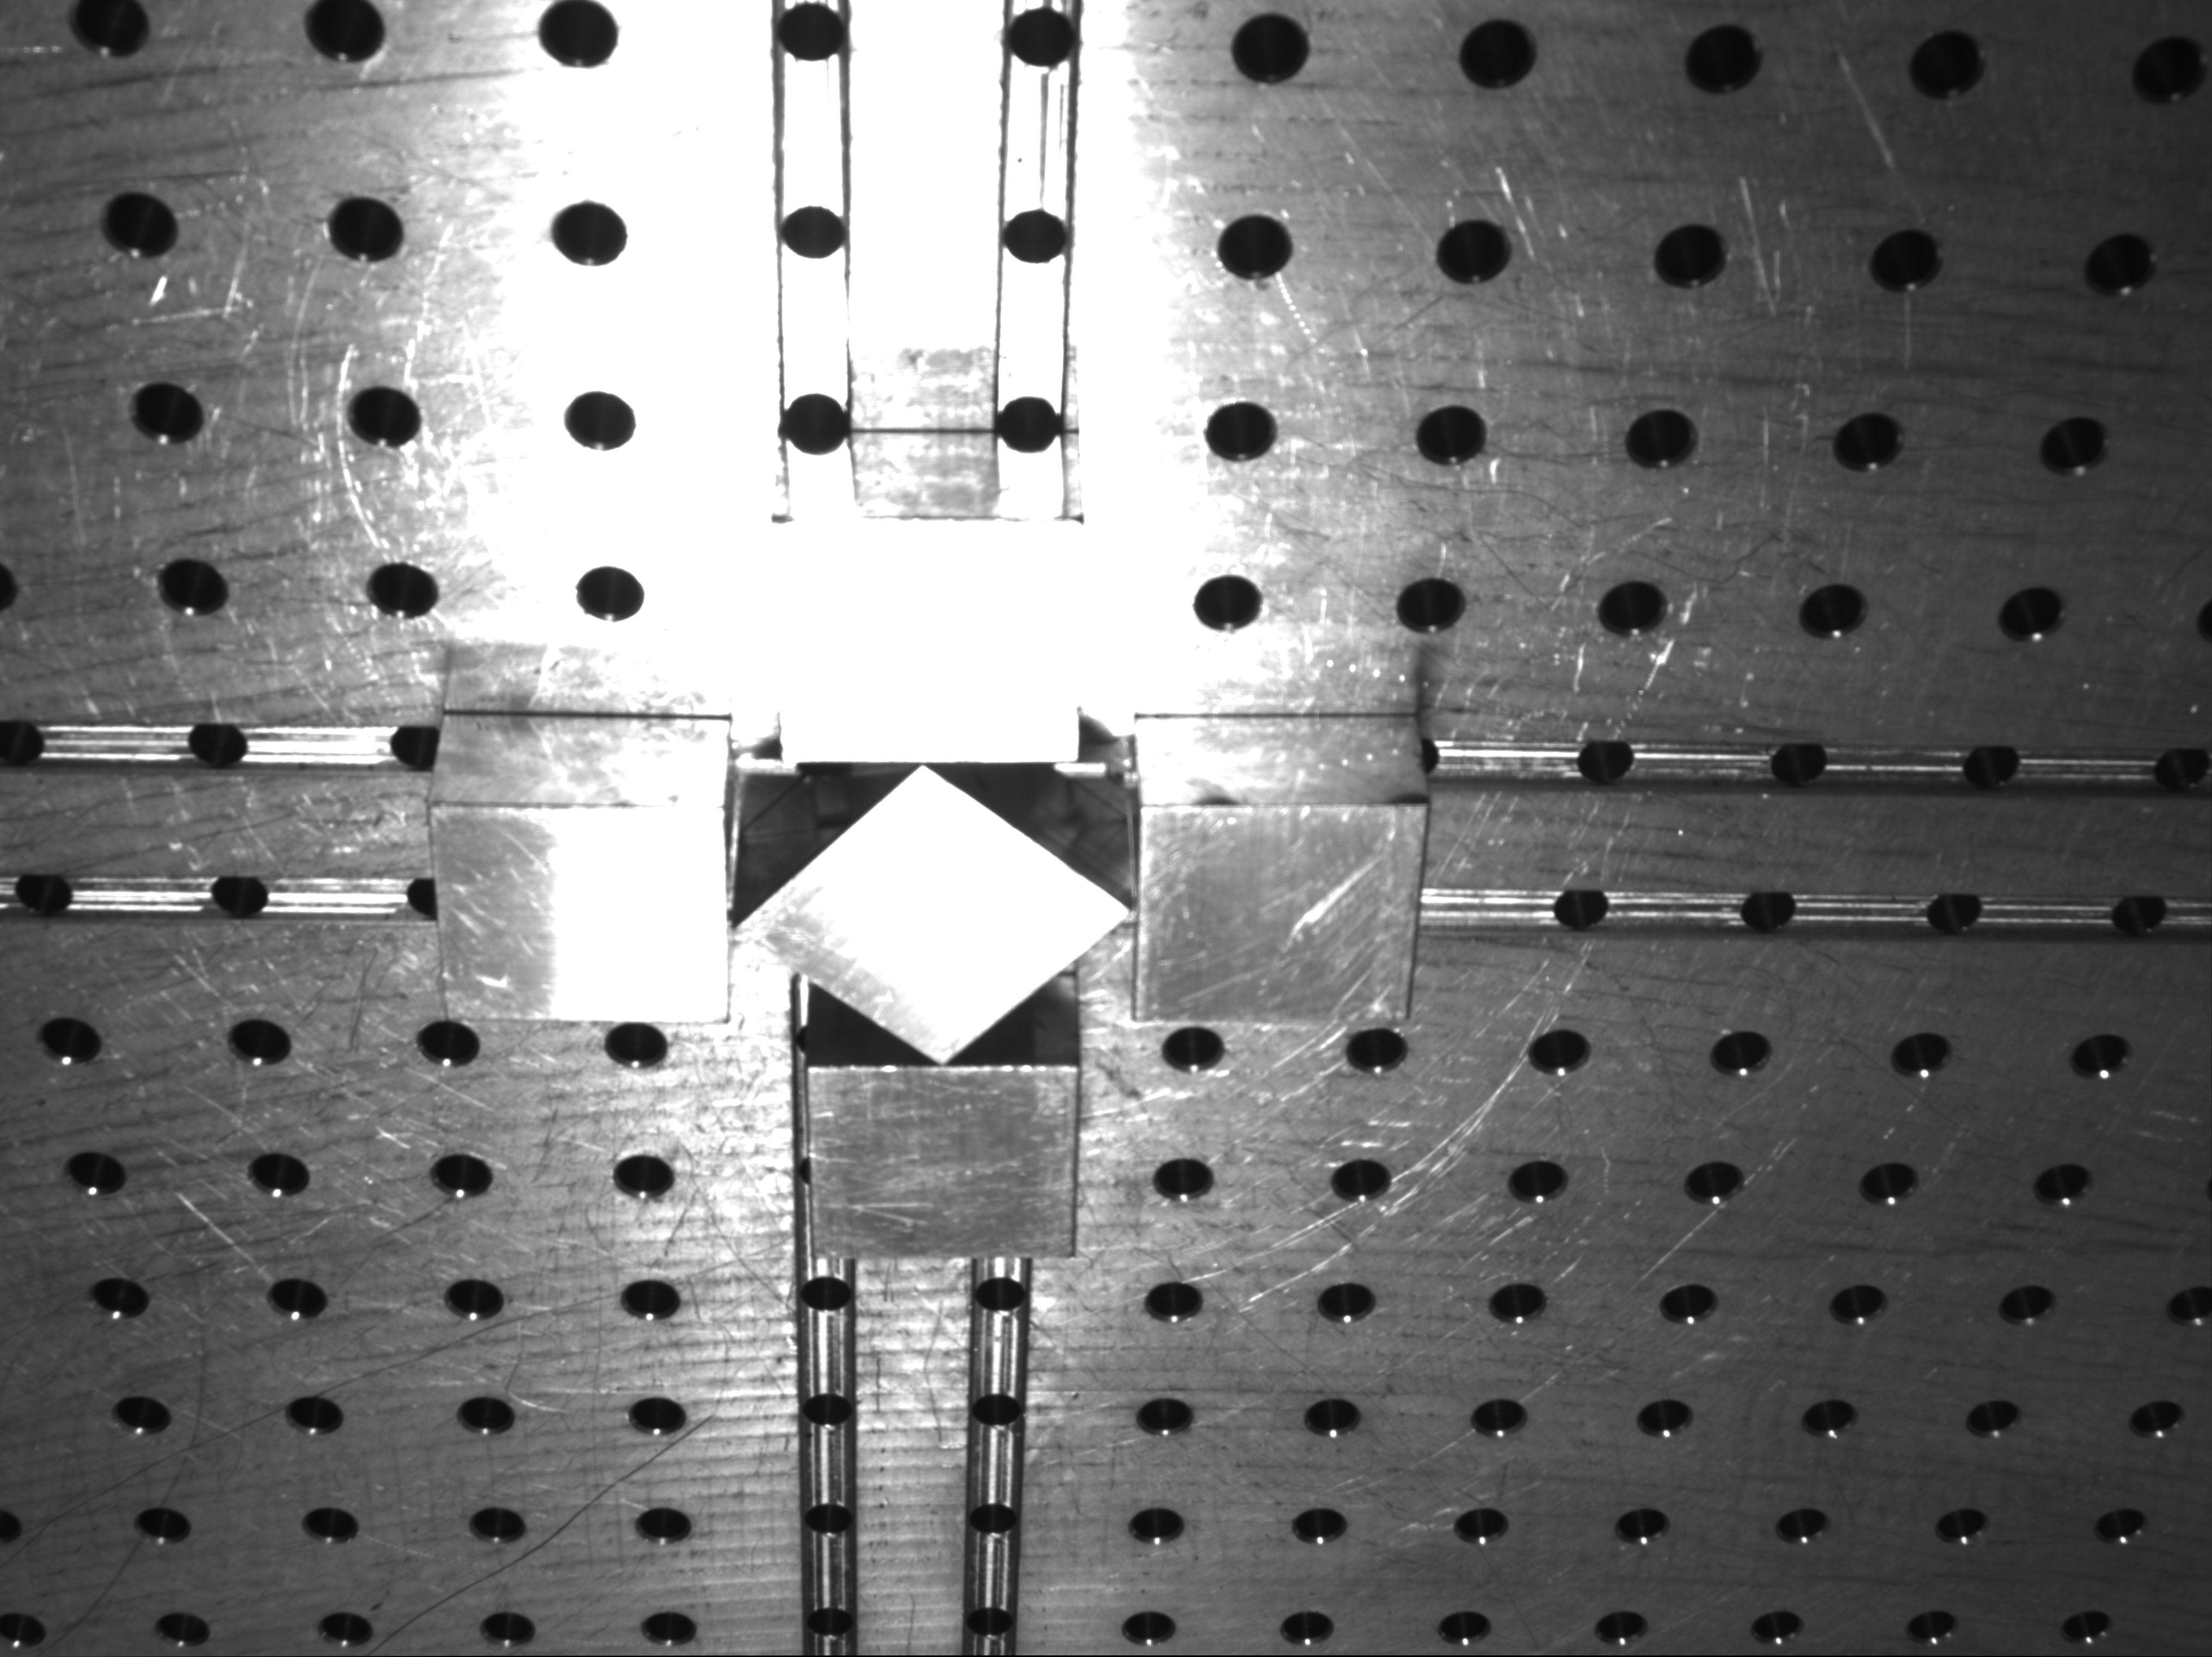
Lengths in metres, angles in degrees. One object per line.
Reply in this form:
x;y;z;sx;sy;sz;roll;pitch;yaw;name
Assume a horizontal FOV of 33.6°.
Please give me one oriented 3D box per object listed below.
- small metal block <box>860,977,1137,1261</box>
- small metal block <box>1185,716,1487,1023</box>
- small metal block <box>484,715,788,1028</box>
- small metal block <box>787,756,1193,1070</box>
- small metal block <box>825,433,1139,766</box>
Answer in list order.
-0.020;0.055;0.686;0.050;0.025;0.050;0;130;-2;small metal block
0.039;0.008;0.649;0.050;0.025;0.050;0;130;-2;small metal block
-0.081;0.008;0.645;0.050;0.025;0.050;1;130;-3;small metal block
-0.021;0.008;0.647;0.050;0.025;0.050;35;121;-27;small metal block
-0.020;-0.038;0.609;0.050;0.025;0.050;-1;130;-1;small metal block
